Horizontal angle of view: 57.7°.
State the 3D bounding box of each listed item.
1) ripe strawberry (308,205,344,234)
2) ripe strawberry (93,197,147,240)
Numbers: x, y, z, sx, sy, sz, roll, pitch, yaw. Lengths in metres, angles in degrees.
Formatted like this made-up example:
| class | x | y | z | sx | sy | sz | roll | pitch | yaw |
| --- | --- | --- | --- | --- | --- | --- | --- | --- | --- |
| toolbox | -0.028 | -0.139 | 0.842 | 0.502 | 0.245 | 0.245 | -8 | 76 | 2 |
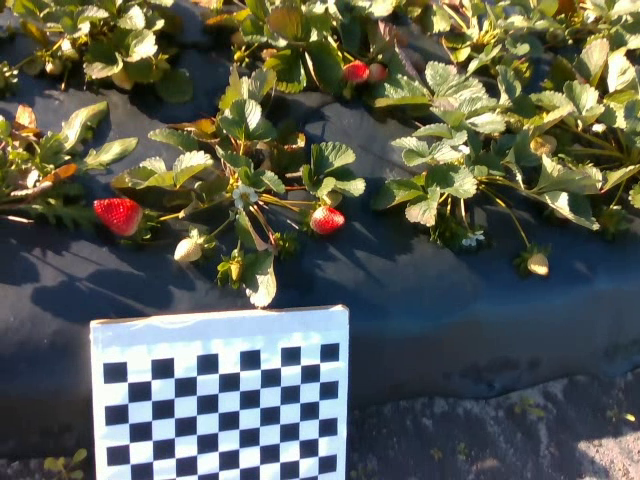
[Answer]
| class | x | y | z | sx | sy | sz | roll | pitch | yaw |
| --- | --- | --- | --- | --- | --- | --- | --- | --- | --- |
| ripe strawberry | 0.009 | -0.022 | 0.599 | 0.045 | 0.037 | 0.042 | -3 | 19 | 45 |
| ripe strawberry | -0.192 | -0.026 | 0.543 | 0.053 | 0.044 | 0.036 | 27 | 0 | -27 |
